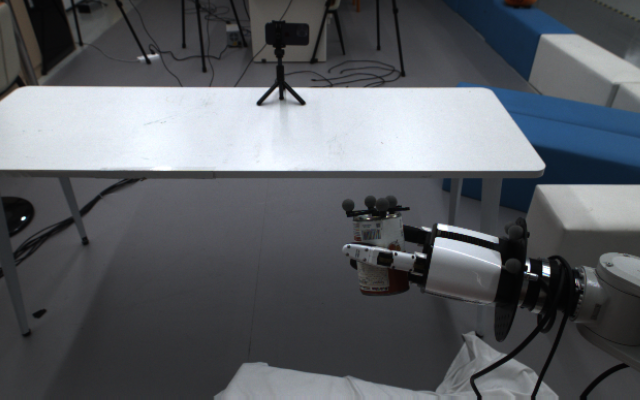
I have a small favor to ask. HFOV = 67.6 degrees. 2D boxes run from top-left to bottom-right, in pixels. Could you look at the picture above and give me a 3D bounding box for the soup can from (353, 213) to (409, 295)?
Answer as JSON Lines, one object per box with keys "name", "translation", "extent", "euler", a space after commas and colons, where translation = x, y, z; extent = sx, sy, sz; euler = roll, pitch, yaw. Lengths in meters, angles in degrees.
{"name": "soup can", "translation": [0.083, 0.070, 0.644], "extent": [0.067, 0.101, 0.067], "euler": [-6, 3, 0]}
